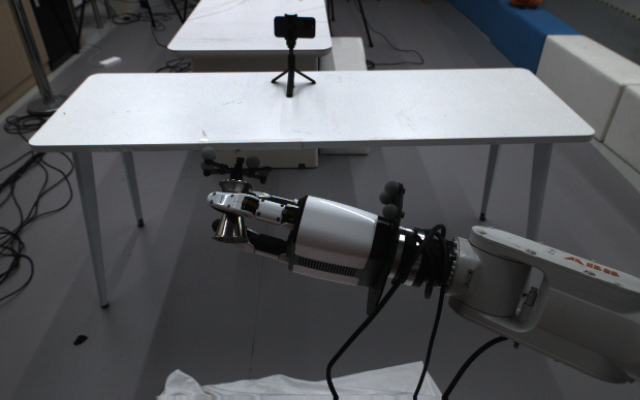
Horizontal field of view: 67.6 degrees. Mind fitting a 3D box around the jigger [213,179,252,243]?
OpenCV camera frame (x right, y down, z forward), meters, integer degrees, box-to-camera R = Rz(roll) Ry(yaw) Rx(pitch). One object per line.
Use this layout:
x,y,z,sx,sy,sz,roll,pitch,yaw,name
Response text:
-0.103,0.014,0.570,0.043,0.043,0.071,3,76,1,jigger
